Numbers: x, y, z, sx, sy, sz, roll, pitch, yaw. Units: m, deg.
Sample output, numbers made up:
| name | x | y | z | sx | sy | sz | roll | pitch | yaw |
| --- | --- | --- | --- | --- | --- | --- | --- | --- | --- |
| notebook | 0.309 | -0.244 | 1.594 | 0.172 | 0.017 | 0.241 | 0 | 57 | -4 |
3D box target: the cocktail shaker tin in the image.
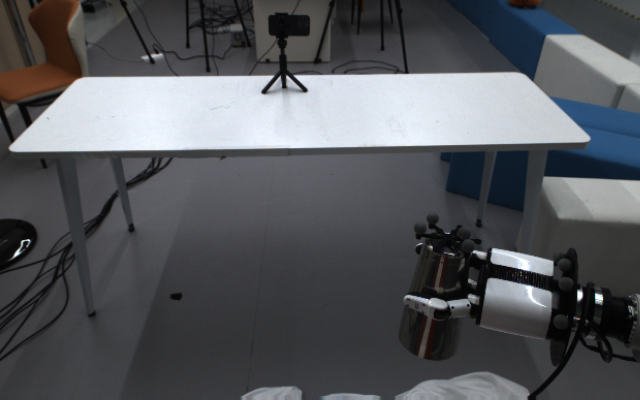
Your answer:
| name | x | y | z | sx | sy | sz | roll | pitch | yaw |
| --- | --- | --- | --- | --- | --- | --- | --- | --- | --- |
| cocktail shaker tin | 0.172 | 0.134 | 0.703 | 0.093 | 0.170 | 0.093 | 2 | 26 | -1 |
